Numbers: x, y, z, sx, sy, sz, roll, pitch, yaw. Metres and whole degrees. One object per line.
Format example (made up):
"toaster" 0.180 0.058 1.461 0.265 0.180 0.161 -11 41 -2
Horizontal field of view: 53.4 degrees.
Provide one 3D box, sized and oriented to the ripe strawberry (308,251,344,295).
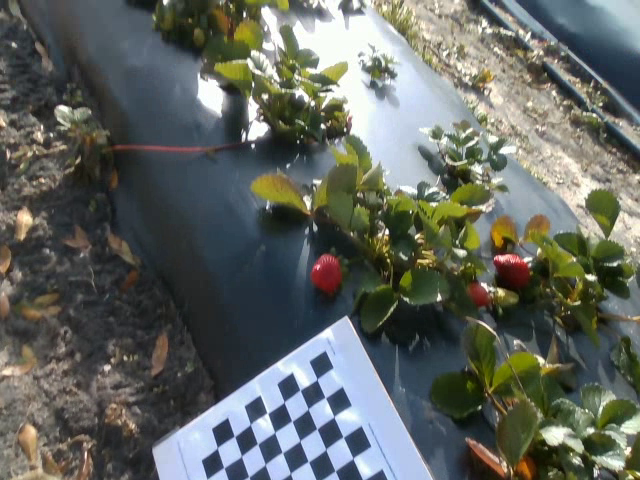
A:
"ripe strawberry" 0.000 0.045 0.646 0.041 0.041 0.047 22 17 38
